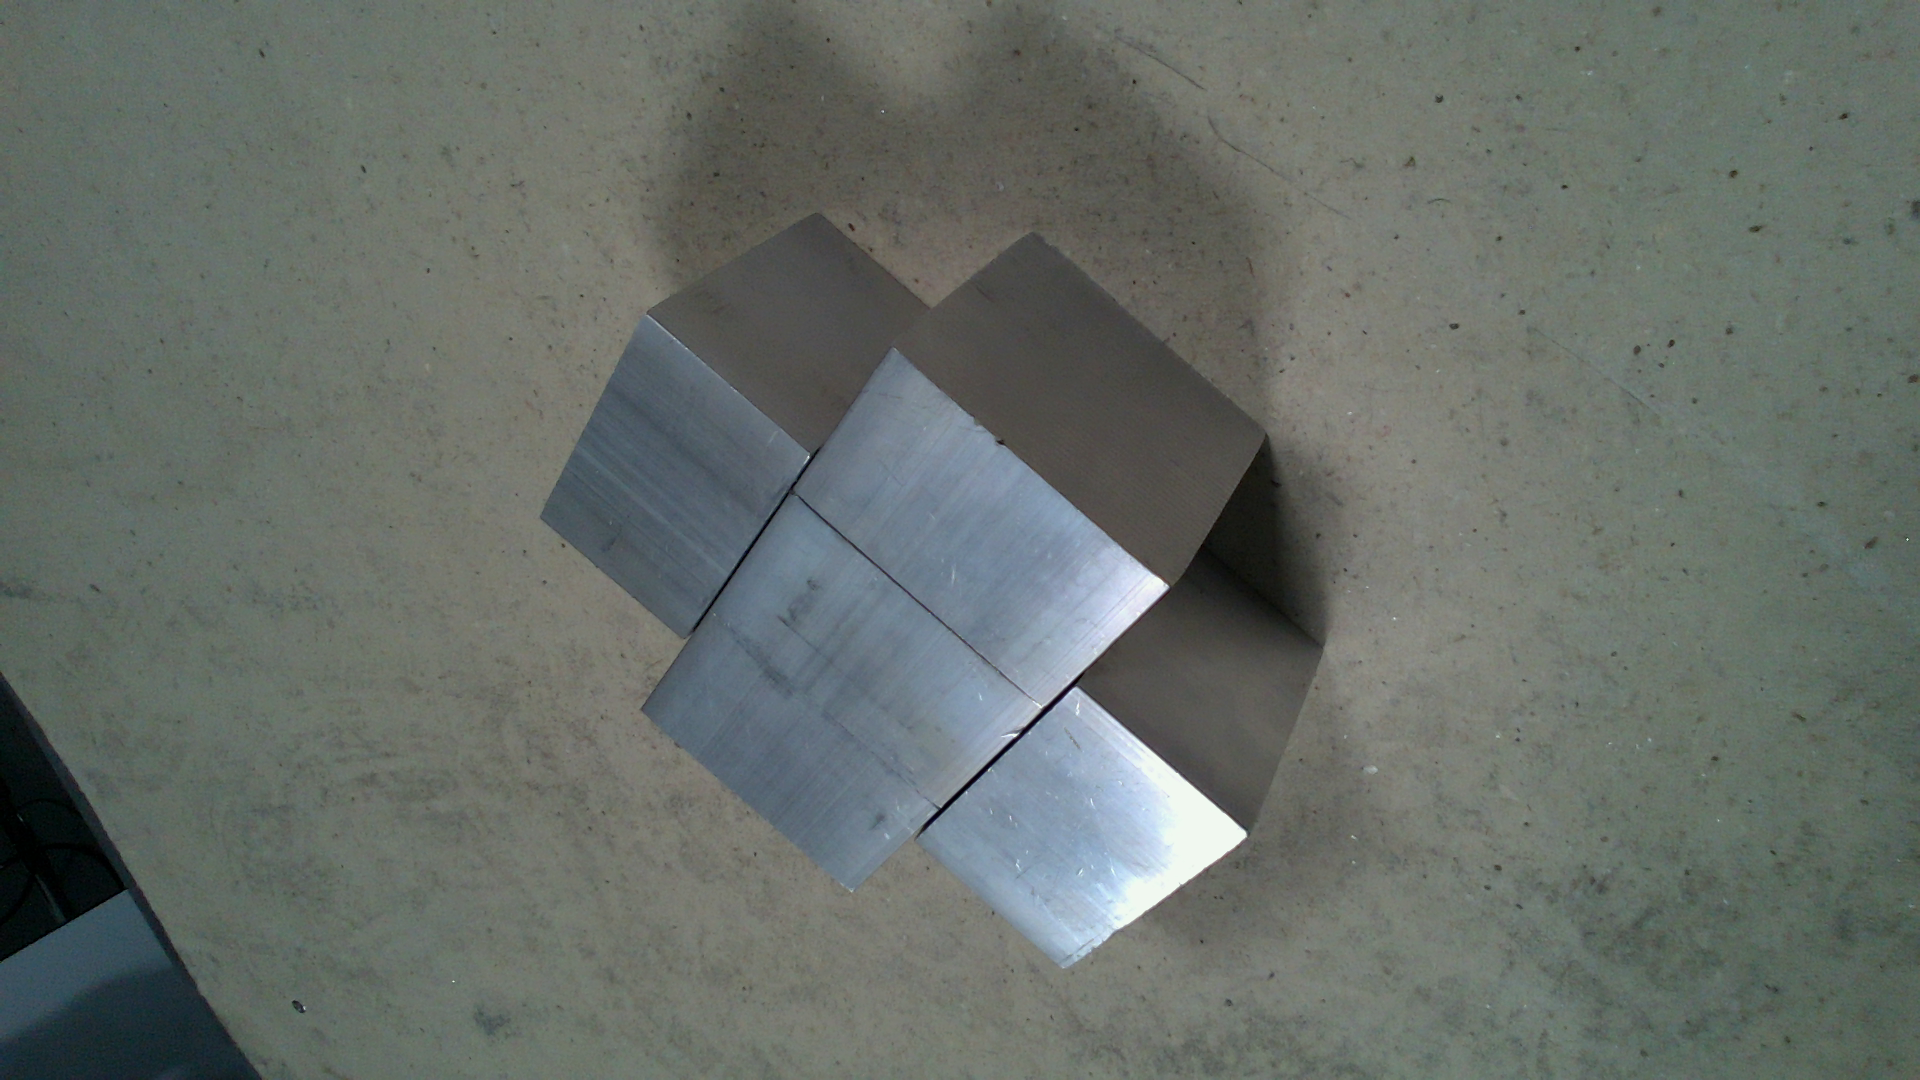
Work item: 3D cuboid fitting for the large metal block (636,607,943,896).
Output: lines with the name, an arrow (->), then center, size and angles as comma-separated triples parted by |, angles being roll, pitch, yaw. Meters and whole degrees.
large metal block -> -0.031, 0.039, 0.399 | 0.080, 0.080, 0.050 | 41, 129, 0

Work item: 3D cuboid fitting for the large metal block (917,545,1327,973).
large metal block -> 0.044, 0.055, 0.368 | 0.050, 0.080, 0.080 | 41, 129, 1

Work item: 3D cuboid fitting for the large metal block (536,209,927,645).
large metal block -> -0.056, -0.031, 0.369 | 0.050, 0.080, 0.080 | 41, 129, 1

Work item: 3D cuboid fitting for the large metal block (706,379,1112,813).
large metal block -> -0.005, 0.010, 0.367 | 0.080, 0.080, 0.050 | 41, 129, 0

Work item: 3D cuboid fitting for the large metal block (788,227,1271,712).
large metal block -> 0.020, -0.020, 0.335 | 0.080, 0.080, 0.050 | 41, 129, 0
